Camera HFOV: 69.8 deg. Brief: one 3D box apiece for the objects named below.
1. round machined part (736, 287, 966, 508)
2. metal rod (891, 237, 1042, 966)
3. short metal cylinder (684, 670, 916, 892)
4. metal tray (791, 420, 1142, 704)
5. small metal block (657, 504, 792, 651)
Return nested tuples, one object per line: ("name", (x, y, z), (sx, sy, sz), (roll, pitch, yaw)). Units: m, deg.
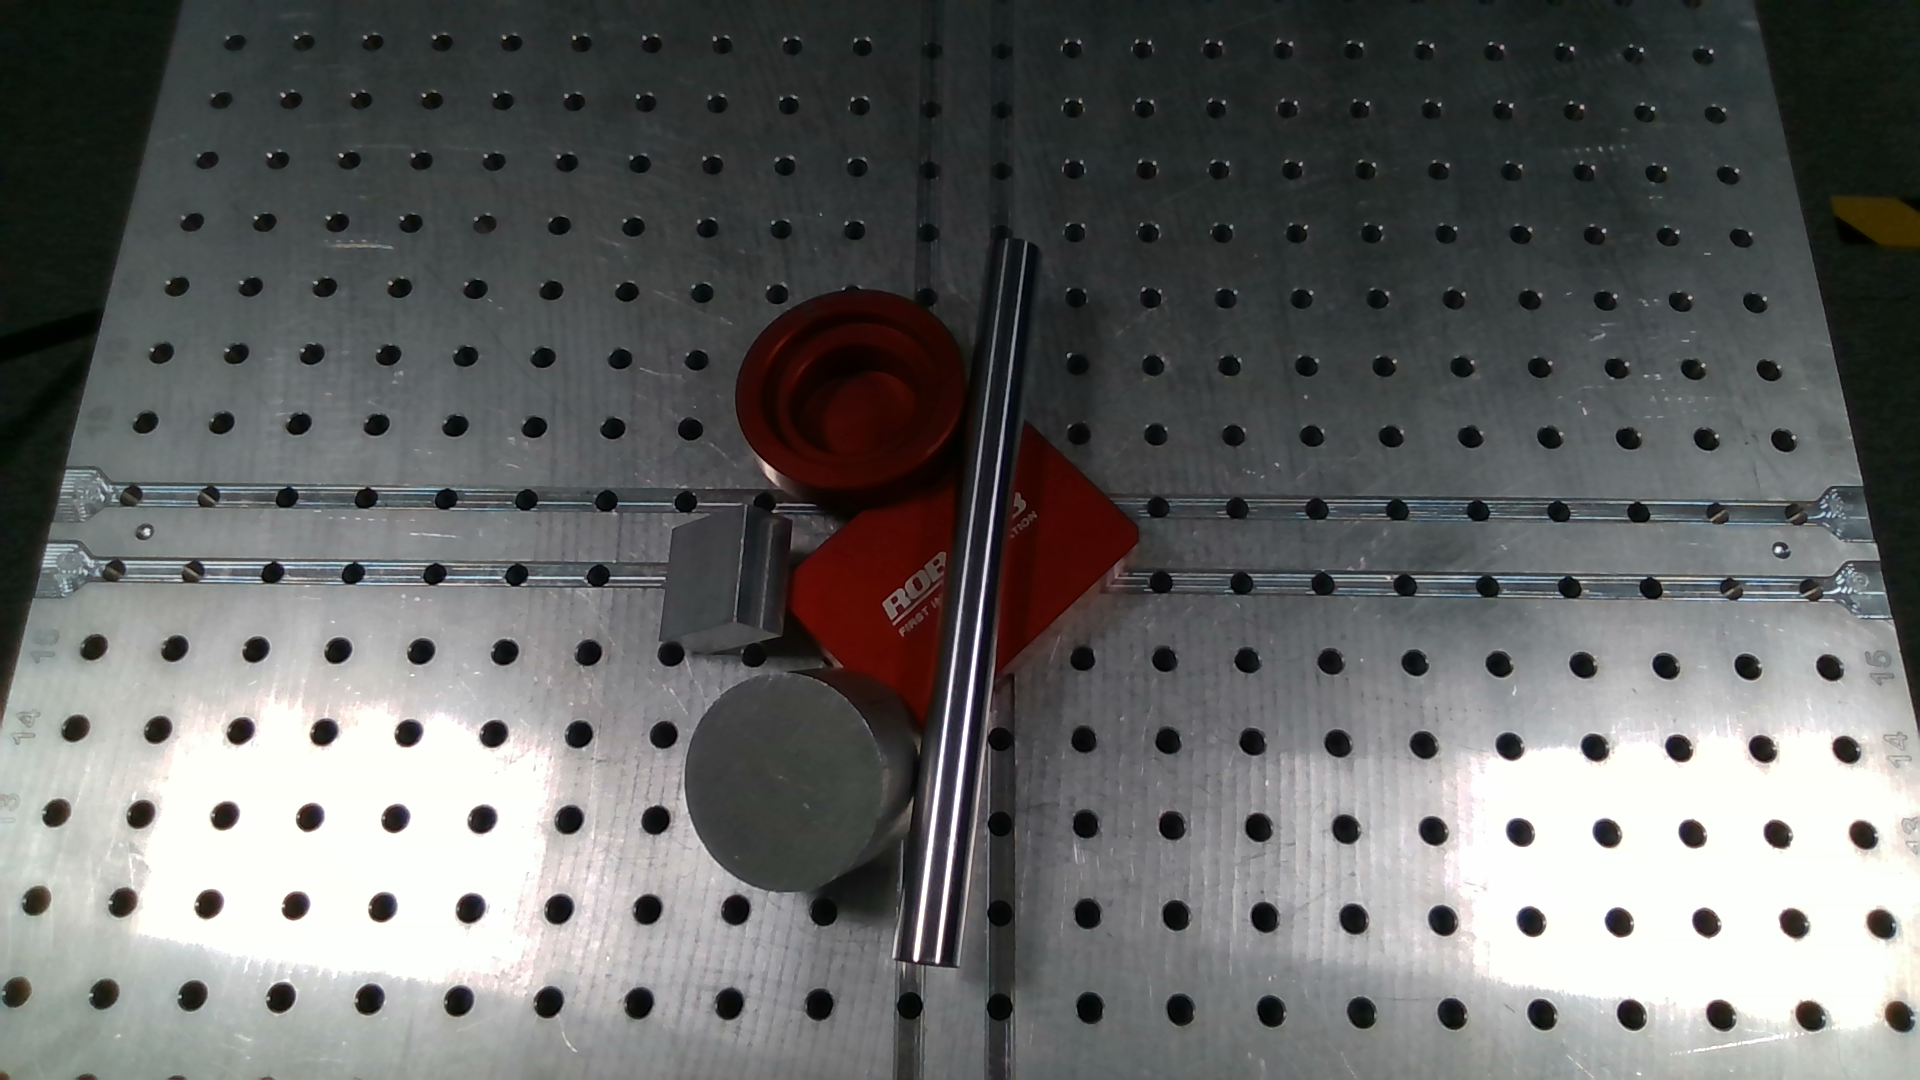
("round machined part", (-0.044, -0.057, 0.597), (0.098, 0.042, 0.098), (-3, 65, 5))
("metal rod", (0.005, 0.014, 0.552), (0.025, 0.025, 0.299), (7, 70, 2))
("short metal cylinder", (-0.058, 0.090, 0.529), (0.080, 0.050, 0.080), (-1, 88, 18))
("metal tray", (0.001, 0.015, 0.584), (0.130, 0.030, 0.090), (-42, 75, -13))
("small metal block", (-0.097, 0.017, 0.570), (0.050, 0.025, 0.050), (-15, 64, 41))
